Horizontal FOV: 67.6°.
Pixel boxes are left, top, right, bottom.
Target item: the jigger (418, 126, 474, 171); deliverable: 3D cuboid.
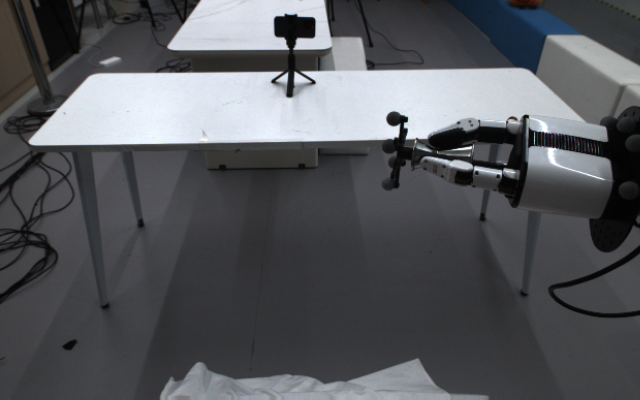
[{"bbox_3d":[0.151,-0.053,0.574,0.071,0.043,0.043,8,35,15],"label":"jigger"}]
